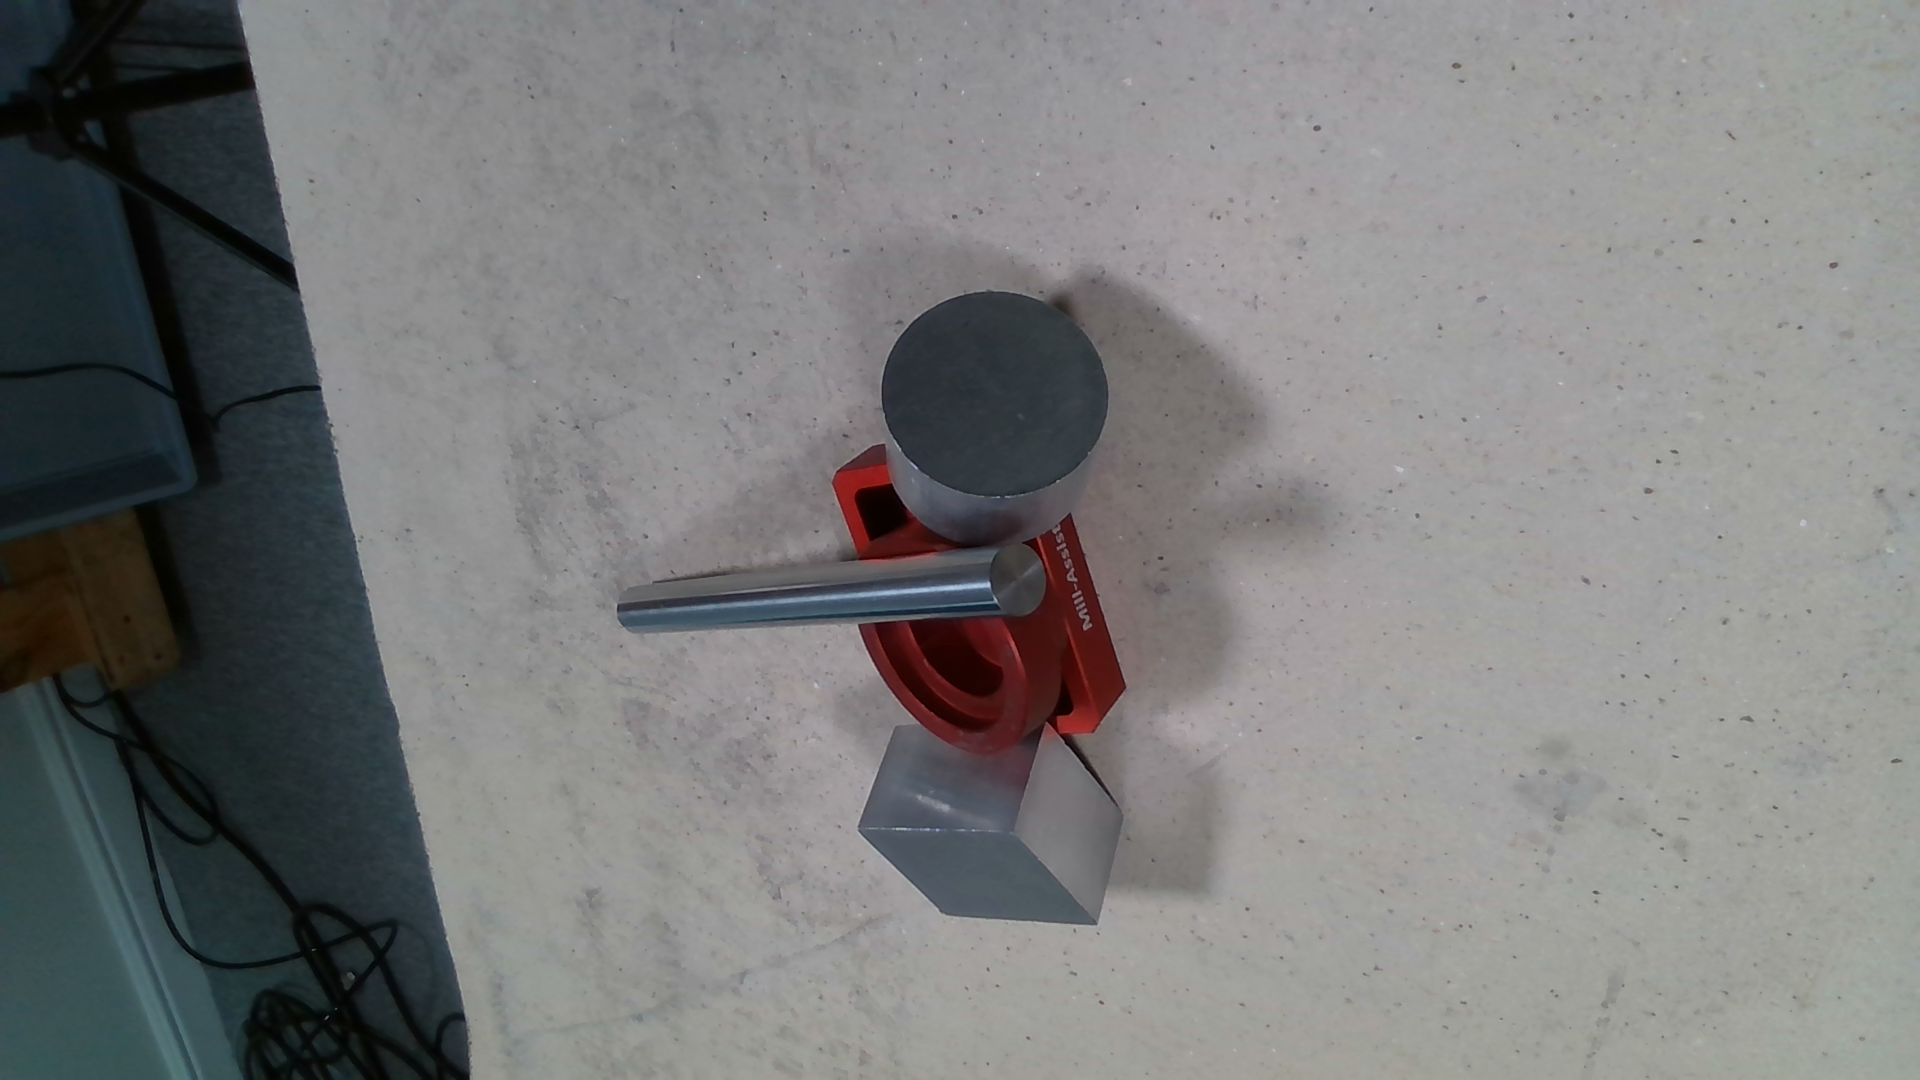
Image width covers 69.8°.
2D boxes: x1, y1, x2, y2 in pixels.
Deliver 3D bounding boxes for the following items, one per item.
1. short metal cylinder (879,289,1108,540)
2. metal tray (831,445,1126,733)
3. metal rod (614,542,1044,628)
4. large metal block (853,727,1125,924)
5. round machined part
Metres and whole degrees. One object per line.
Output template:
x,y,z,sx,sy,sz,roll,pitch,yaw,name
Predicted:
0.012,-0.044,0.505,0.080,0.080,0.050,35,164,11,short metal cylinder
0.008,0.019,0.582,0.090,0.030,0.130,-7,111,34,metal tray
-0.073,0.024,0.581,0.300,0.025,0.025,-7,112,52,metal rod
0.014,0.124,0.602,0.080,0.050,0.080,-7,137,34,large metal block
0.004,0.034,0.554,0.098,0.042,0.098,28,134,34,round machined part
